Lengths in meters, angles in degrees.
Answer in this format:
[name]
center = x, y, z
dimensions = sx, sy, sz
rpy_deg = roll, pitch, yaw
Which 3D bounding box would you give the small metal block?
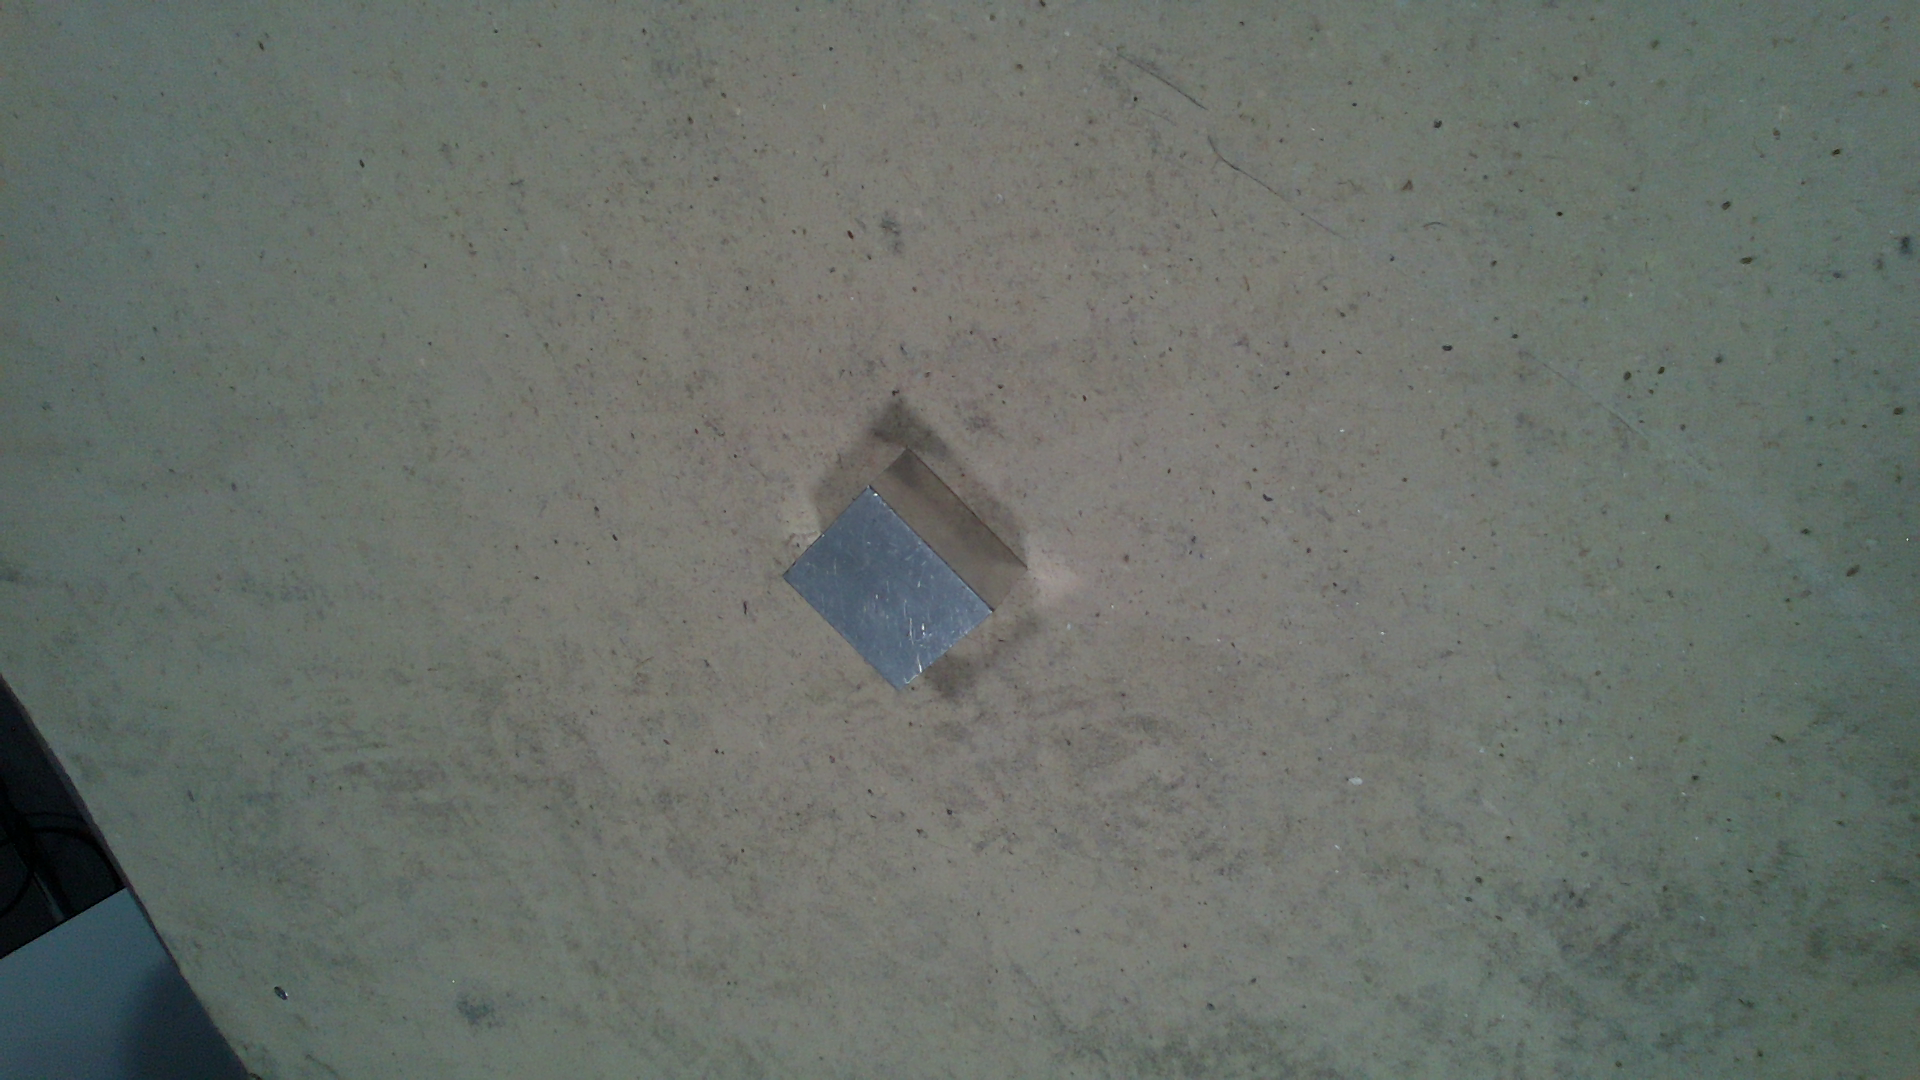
[small metal block]
center = -0.017, 0.010, 0.408
dimensions = 0.050, 0.025, 0.050
rpy_deg = 45, 129, -3
